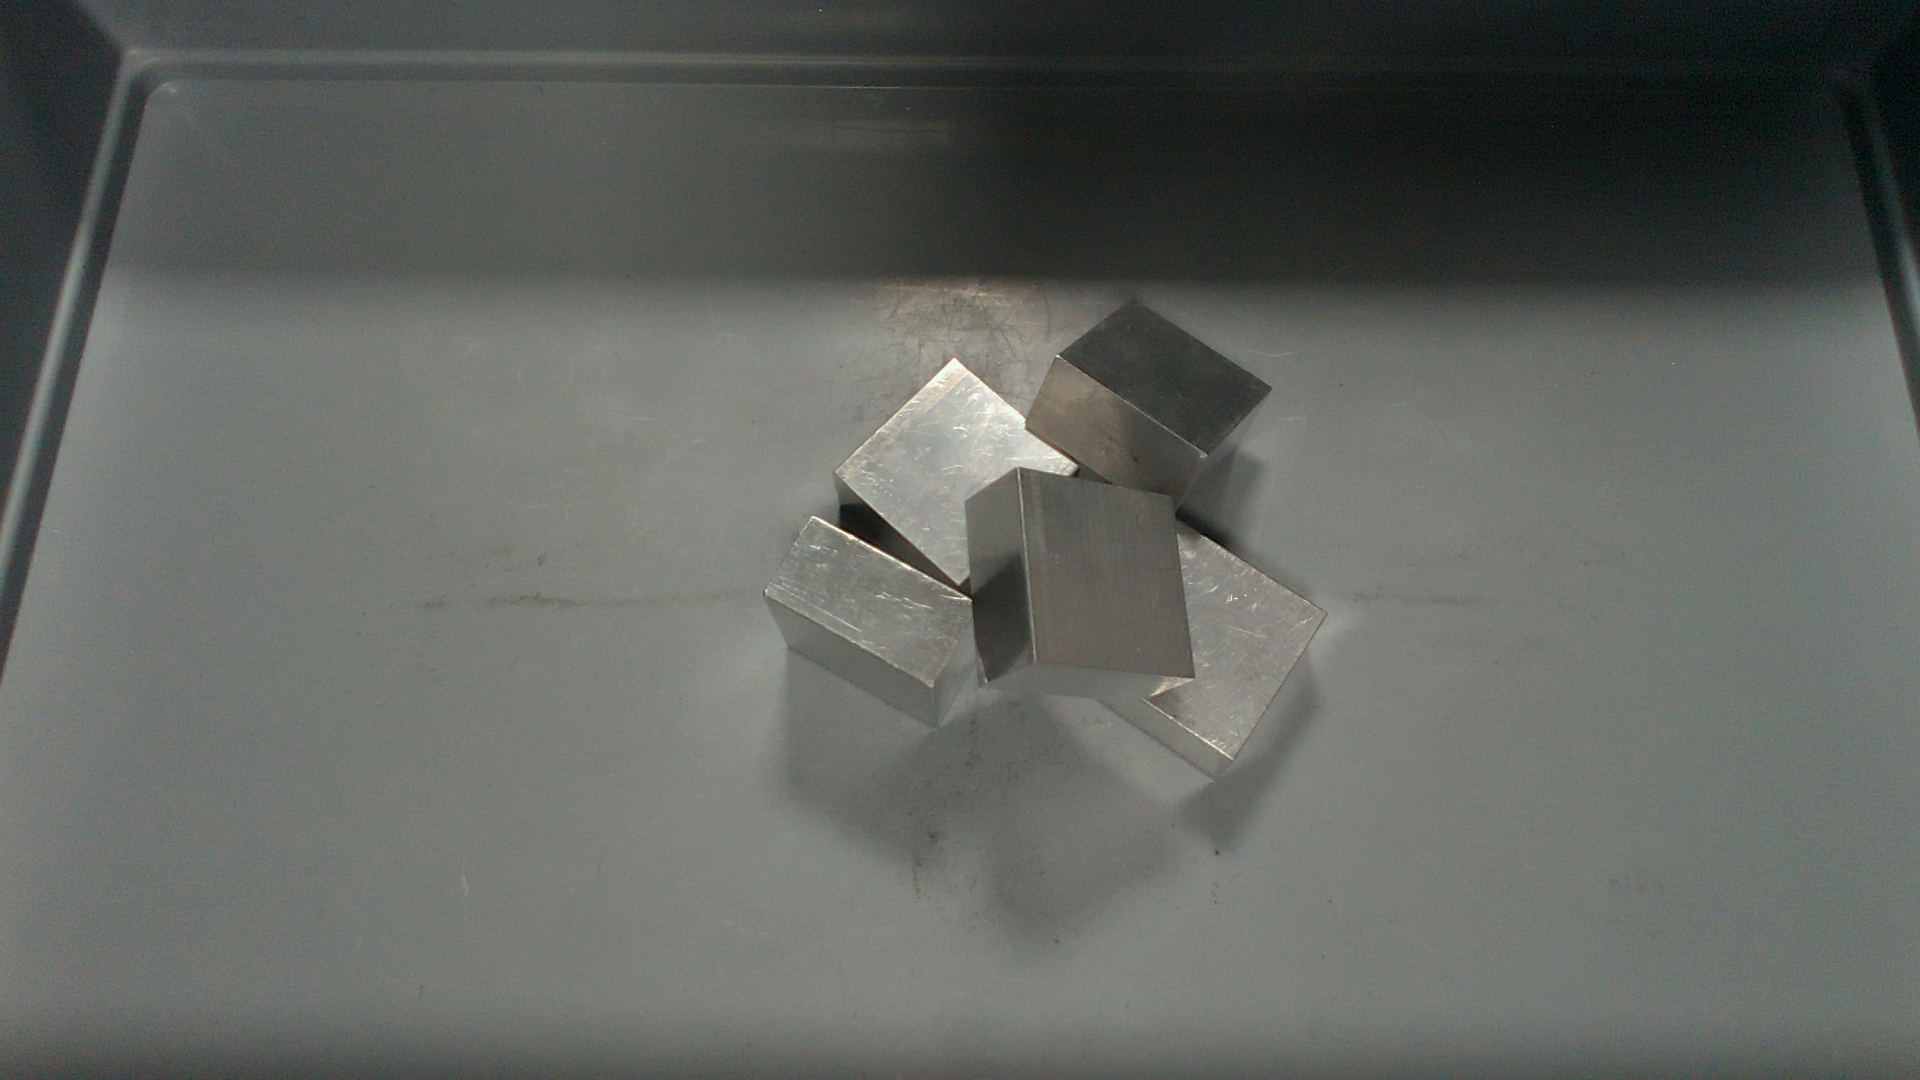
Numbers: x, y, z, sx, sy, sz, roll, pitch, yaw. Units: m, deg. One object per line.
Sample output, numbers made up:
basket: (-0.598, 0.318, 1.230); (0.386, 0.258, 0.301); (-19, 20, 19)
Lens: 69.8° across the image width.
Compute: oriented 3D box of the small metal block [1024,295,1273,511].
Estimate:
small metal block: (0.055, -0.039, 0.396); (0.050, 0.025, 0.050); (35, 41, 12)

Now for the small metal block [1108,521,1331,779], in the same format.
small metal block: (0.066, 0.030, 0.382); (0.050, 0.025, 0.050); (33, 73, 11)

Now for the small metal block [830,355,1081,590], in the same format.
small metal block: (-0.001, -0.016, 0.398); (0.050, 0.025, 0.050); (42, 75, 14)

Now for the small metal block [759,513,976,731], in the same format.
small metal block: (-0.023, 0.023, 0.371); (0.050, 0.050, 0.025); (28, 72, 10)

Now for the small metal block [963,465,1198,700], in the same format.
small metal block: (0.030, 0.012, 0.350); (0.050, 0.025, 0.050); (9, 66, -31)
